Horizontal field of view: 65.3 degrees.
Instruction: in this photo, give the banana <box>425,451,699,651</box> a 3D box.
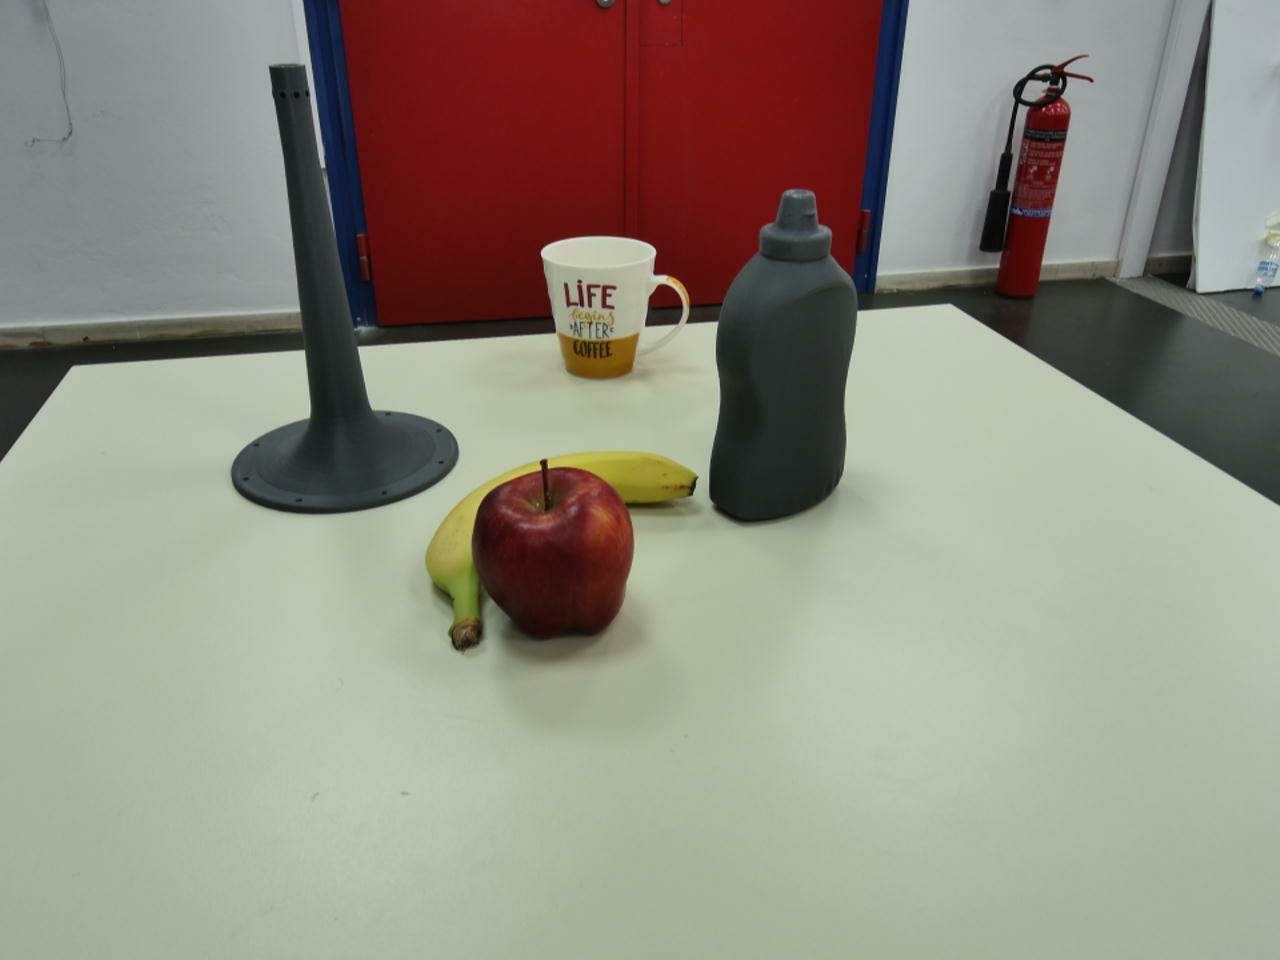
[{"bbox_3d":[-0.058,0.023,0.585,0.094,0.041,0.196,21,33,36],"label":"banana"}]
